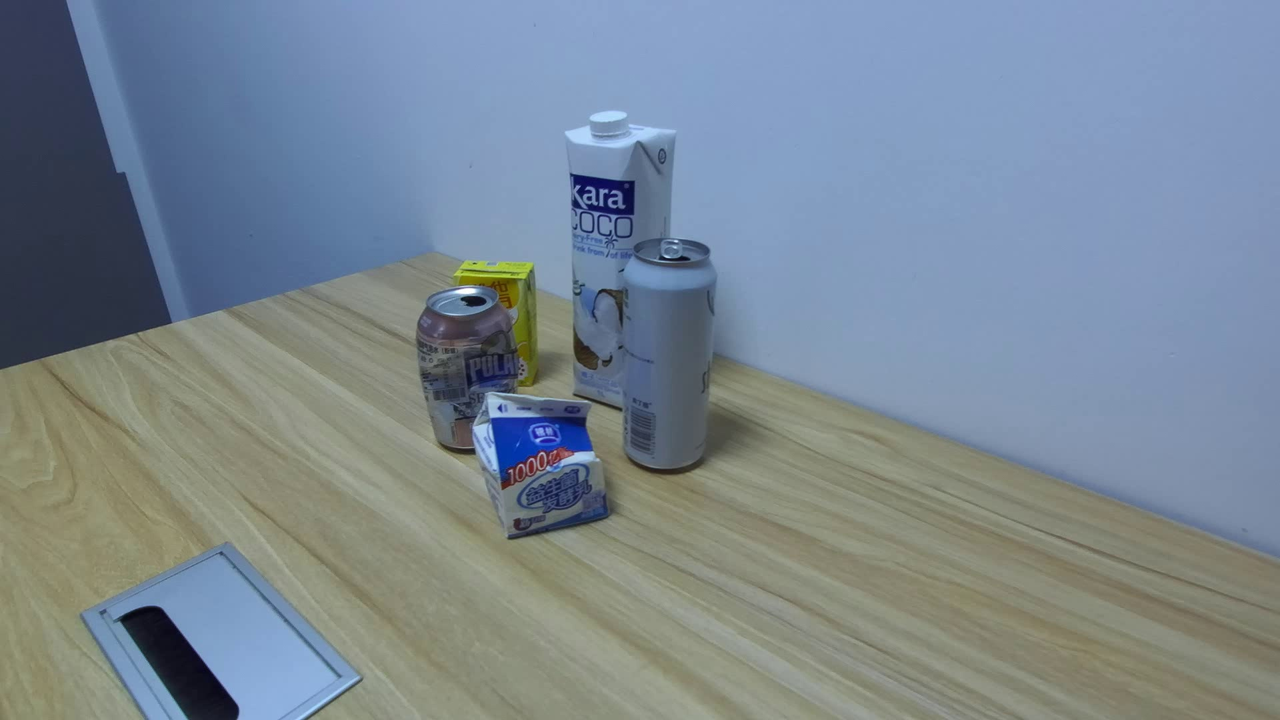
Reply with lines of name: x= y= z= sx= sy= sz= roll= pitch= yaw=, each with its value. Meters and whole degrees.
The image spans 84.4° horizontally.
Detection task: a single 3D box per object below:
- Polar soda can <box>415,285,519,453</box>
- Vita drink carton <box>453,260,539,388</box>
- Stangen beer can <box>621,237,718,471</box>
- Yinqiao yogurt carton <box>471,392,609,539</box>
Polar soda can: x=-0.133 y=0.008 z=0.561 sx=0.074 sy=0.122 sz=0.067 roll=7 pitch=28 yaw=15
Vita drink carton: x=-0.130 y=-0.033 z=0.651 sx=0.066 sy=0.109 sz=0.043 roll=3 pitch=26 yaw=3
Stangen beer can: x=0.021 y=-0.002 z=0.526 sx=0.067 sy=0.171 sz=0.067 roll=1 pitch=27 yaw=0
Yinqiao yogurt carton: x=-0.070 y=0.059 z=0.490 sx=0.083 sy=0.093 sz=0.077 roll=-9 pitch=29 yaw=-17
